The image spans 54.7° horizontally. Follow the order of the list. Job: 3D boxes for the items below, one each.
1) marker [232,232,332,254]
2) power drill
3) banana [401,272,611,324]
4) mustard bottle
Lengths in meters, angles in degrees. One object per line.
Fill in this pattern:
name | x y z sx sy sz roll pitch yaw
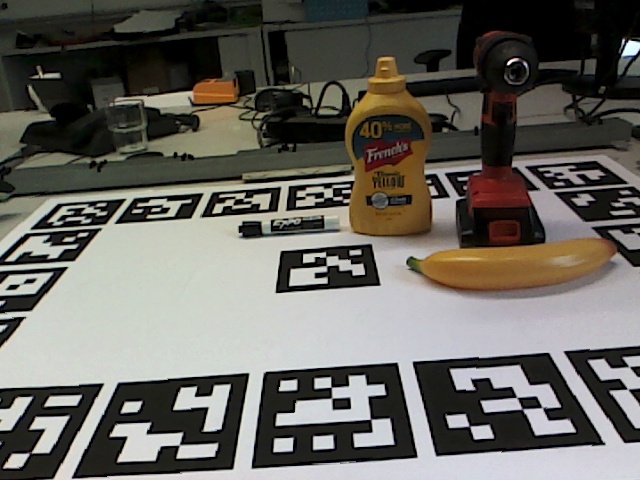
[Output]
marker | -0.046 0.003 0.745 0.121 0.019 0.020 -4 27 4
power drill | 0.177 -0.074 0.625 0.057 0.186 0.184 3 25 13
banana | 0.176 0.051 0.589 0.198 0.039 0.074 -3 28 10
mustard bottle | 0.072 -0.080 0.694 0.096 0.191 0.058 1 27 11
